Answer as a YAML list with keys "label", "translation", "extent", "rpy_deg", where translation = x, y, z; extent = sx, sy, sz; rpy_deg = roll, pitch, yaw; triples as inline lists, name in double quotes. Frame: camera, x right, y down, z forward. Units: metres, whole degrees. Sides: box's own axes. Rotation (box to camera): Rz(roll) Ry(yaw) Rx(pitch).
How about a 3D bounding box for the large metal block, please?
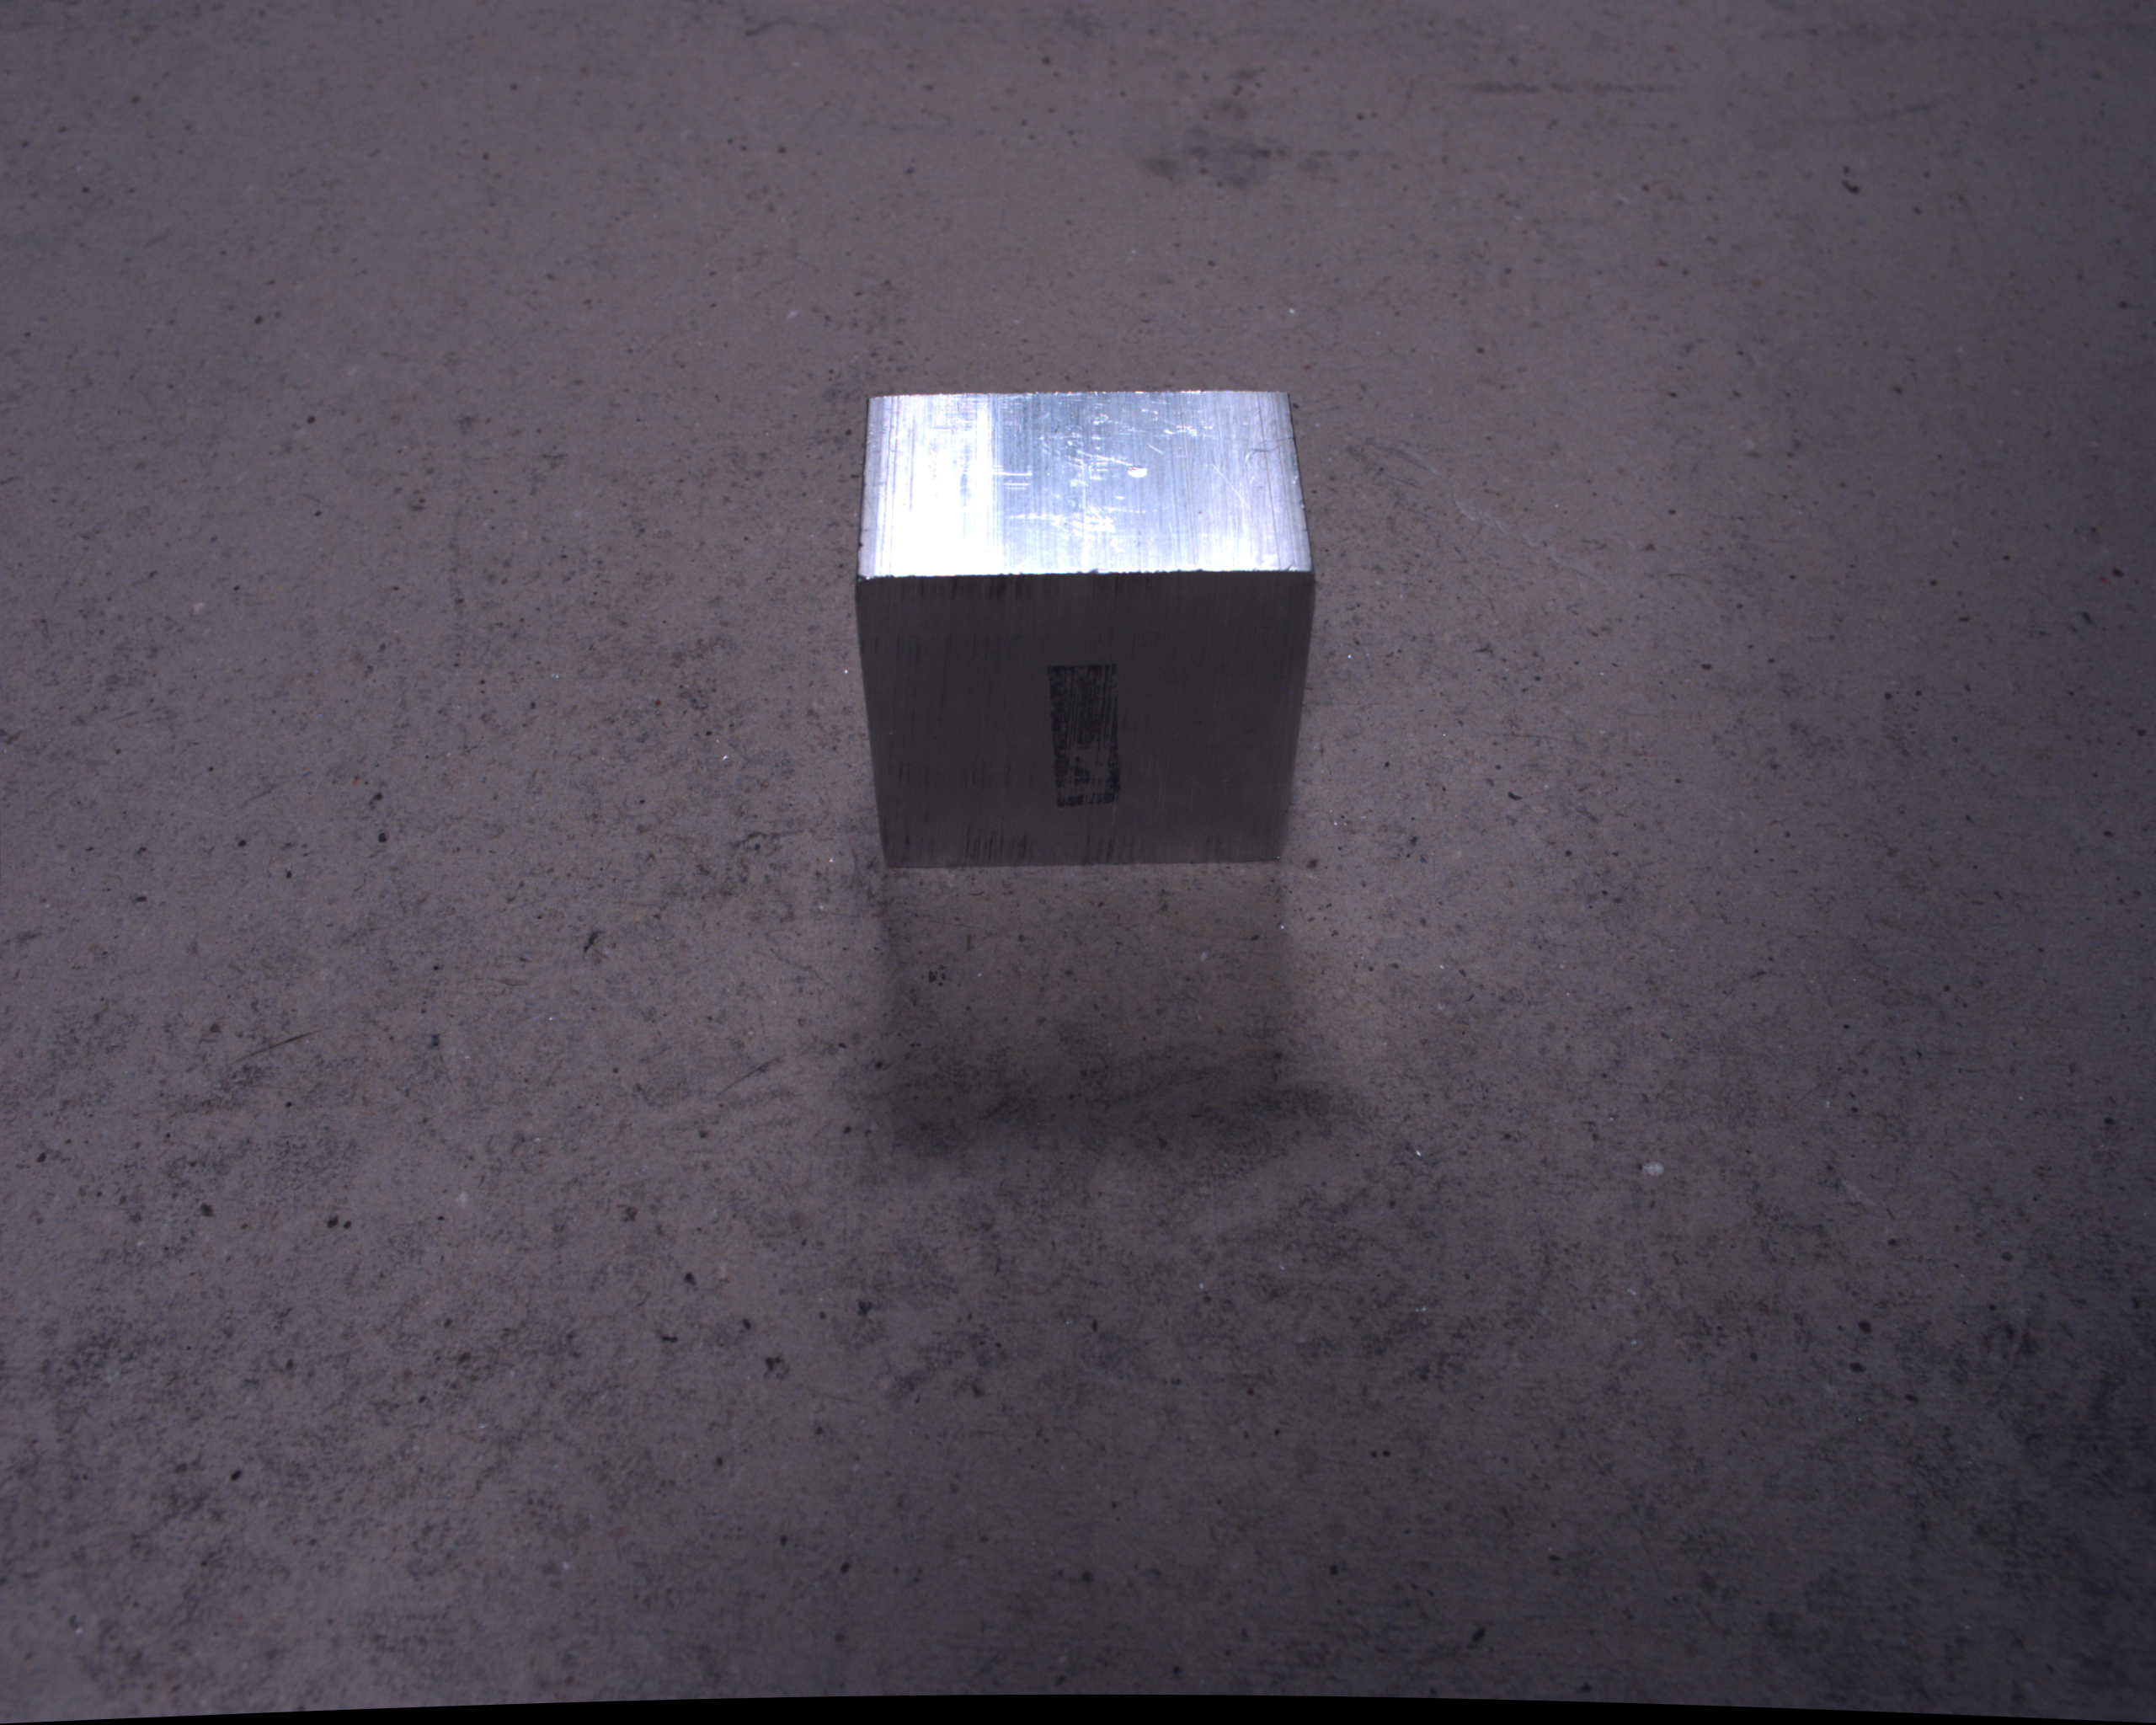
- label: "large metal block"
  translation: [0.000, -0.044, 0.406]
  extent: [0.081, 0.080, 0.050]
  rpy_deg: [-1, 50, -1]
